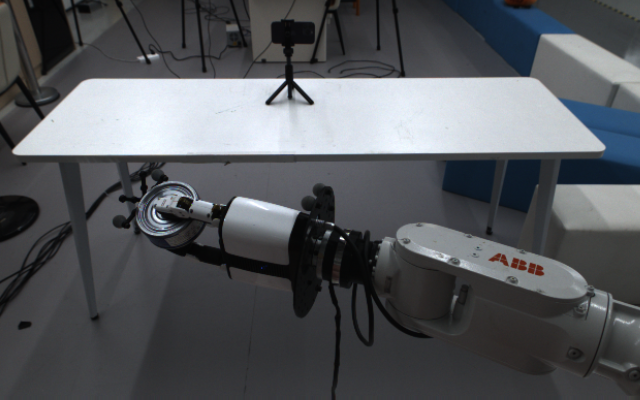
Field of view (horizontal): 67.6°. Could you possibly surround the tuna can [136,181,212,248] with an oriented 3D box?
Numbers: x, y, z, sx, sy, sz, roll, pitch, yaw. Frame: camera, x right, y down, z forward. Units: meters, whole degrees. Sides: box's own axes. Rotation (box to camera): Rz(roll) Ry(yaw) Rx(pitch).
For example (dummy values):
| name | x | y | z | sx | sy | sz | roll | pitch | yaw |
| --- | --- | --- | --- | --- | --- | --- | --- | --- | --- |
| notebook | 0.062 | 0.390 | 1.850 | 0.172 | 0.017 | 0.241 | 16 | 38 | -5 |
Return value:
| name | x | y | z | sx | sy | sz | roll | pitch | yaw |
| --- | --- | --- | --- | --- | --- | --- | --- | --- | --- |
| tuna can | -0.190 | 0.018 | 0.626 | 0.085 | 0.034 | 0.085 | -3 | 59 | 6 |
